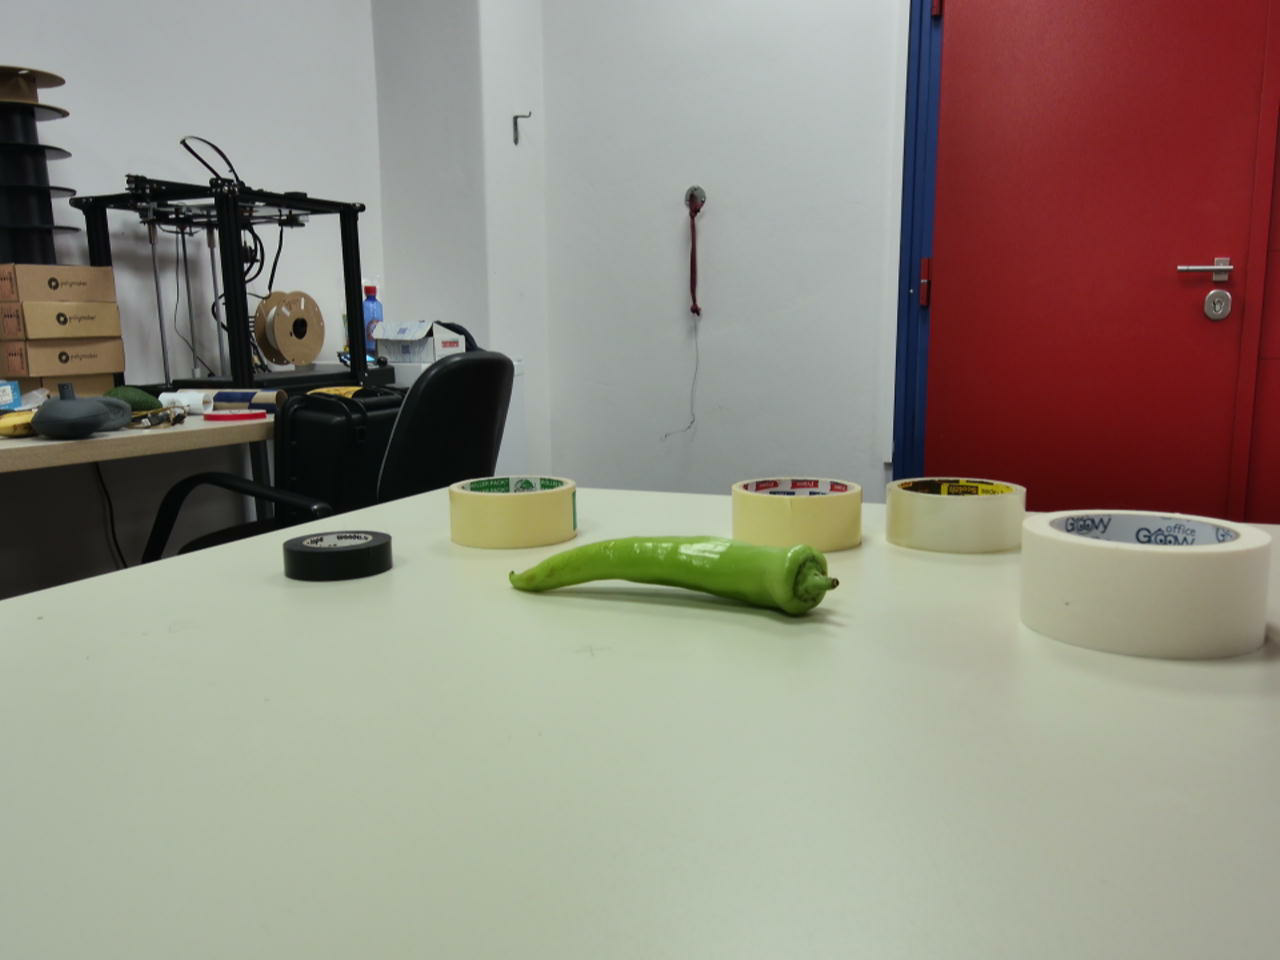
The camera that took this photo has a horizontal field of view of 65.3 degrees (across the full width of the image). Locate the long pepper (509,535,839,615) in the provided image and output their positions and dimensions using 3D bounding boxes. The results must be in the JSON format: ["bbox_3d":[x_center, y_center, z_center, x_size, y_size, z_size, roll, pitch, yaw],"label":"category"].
[{"bbox_3d":[0.017,0.048,0.550,0.197,0.038,0.046,3,6,26],"label":"long pepper"}]
